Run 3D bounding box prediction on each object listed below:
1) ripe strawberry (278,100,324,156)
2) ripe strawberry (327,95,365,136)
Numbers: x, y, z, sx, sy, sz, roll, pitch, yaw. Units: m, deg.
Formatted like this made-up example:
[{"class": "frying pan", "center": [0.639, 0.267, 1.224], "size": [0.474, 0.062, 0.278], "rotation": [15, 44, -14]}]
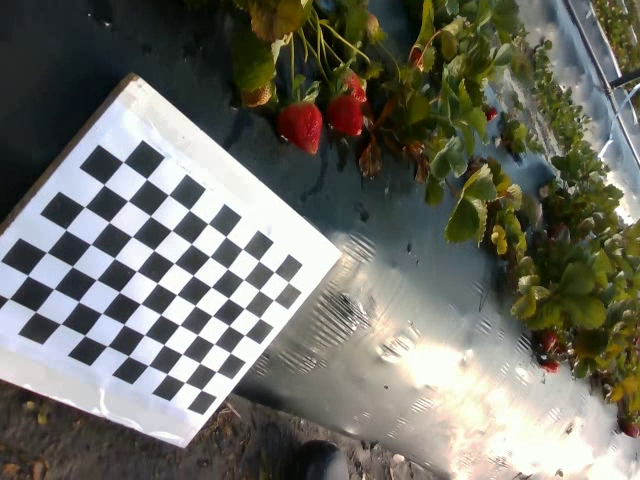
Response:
[{"class": "ripe strawberry", "center": [-0.016, -0.114, 0.605], "size": [0.050, 0.065, 0.050], "rotation": [-6, -30, -29]}, {"class": "ripe strawberry", "center": [0.030, -0.139, 0.673], "size": [0.044, 0.055, 0.042], "rotation": [-29, -17, -17]}]
